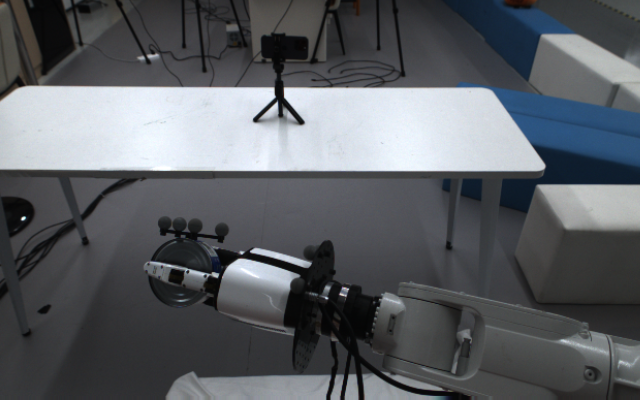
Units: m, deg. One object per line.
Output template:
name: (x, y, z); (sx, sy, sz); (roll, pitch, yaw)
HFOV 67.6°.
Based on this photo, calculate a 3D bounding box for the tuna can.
tuna can: (-0.168, 0.091, 0.610); (0.085, 0.085, 0.034); (11, -5, 13)
